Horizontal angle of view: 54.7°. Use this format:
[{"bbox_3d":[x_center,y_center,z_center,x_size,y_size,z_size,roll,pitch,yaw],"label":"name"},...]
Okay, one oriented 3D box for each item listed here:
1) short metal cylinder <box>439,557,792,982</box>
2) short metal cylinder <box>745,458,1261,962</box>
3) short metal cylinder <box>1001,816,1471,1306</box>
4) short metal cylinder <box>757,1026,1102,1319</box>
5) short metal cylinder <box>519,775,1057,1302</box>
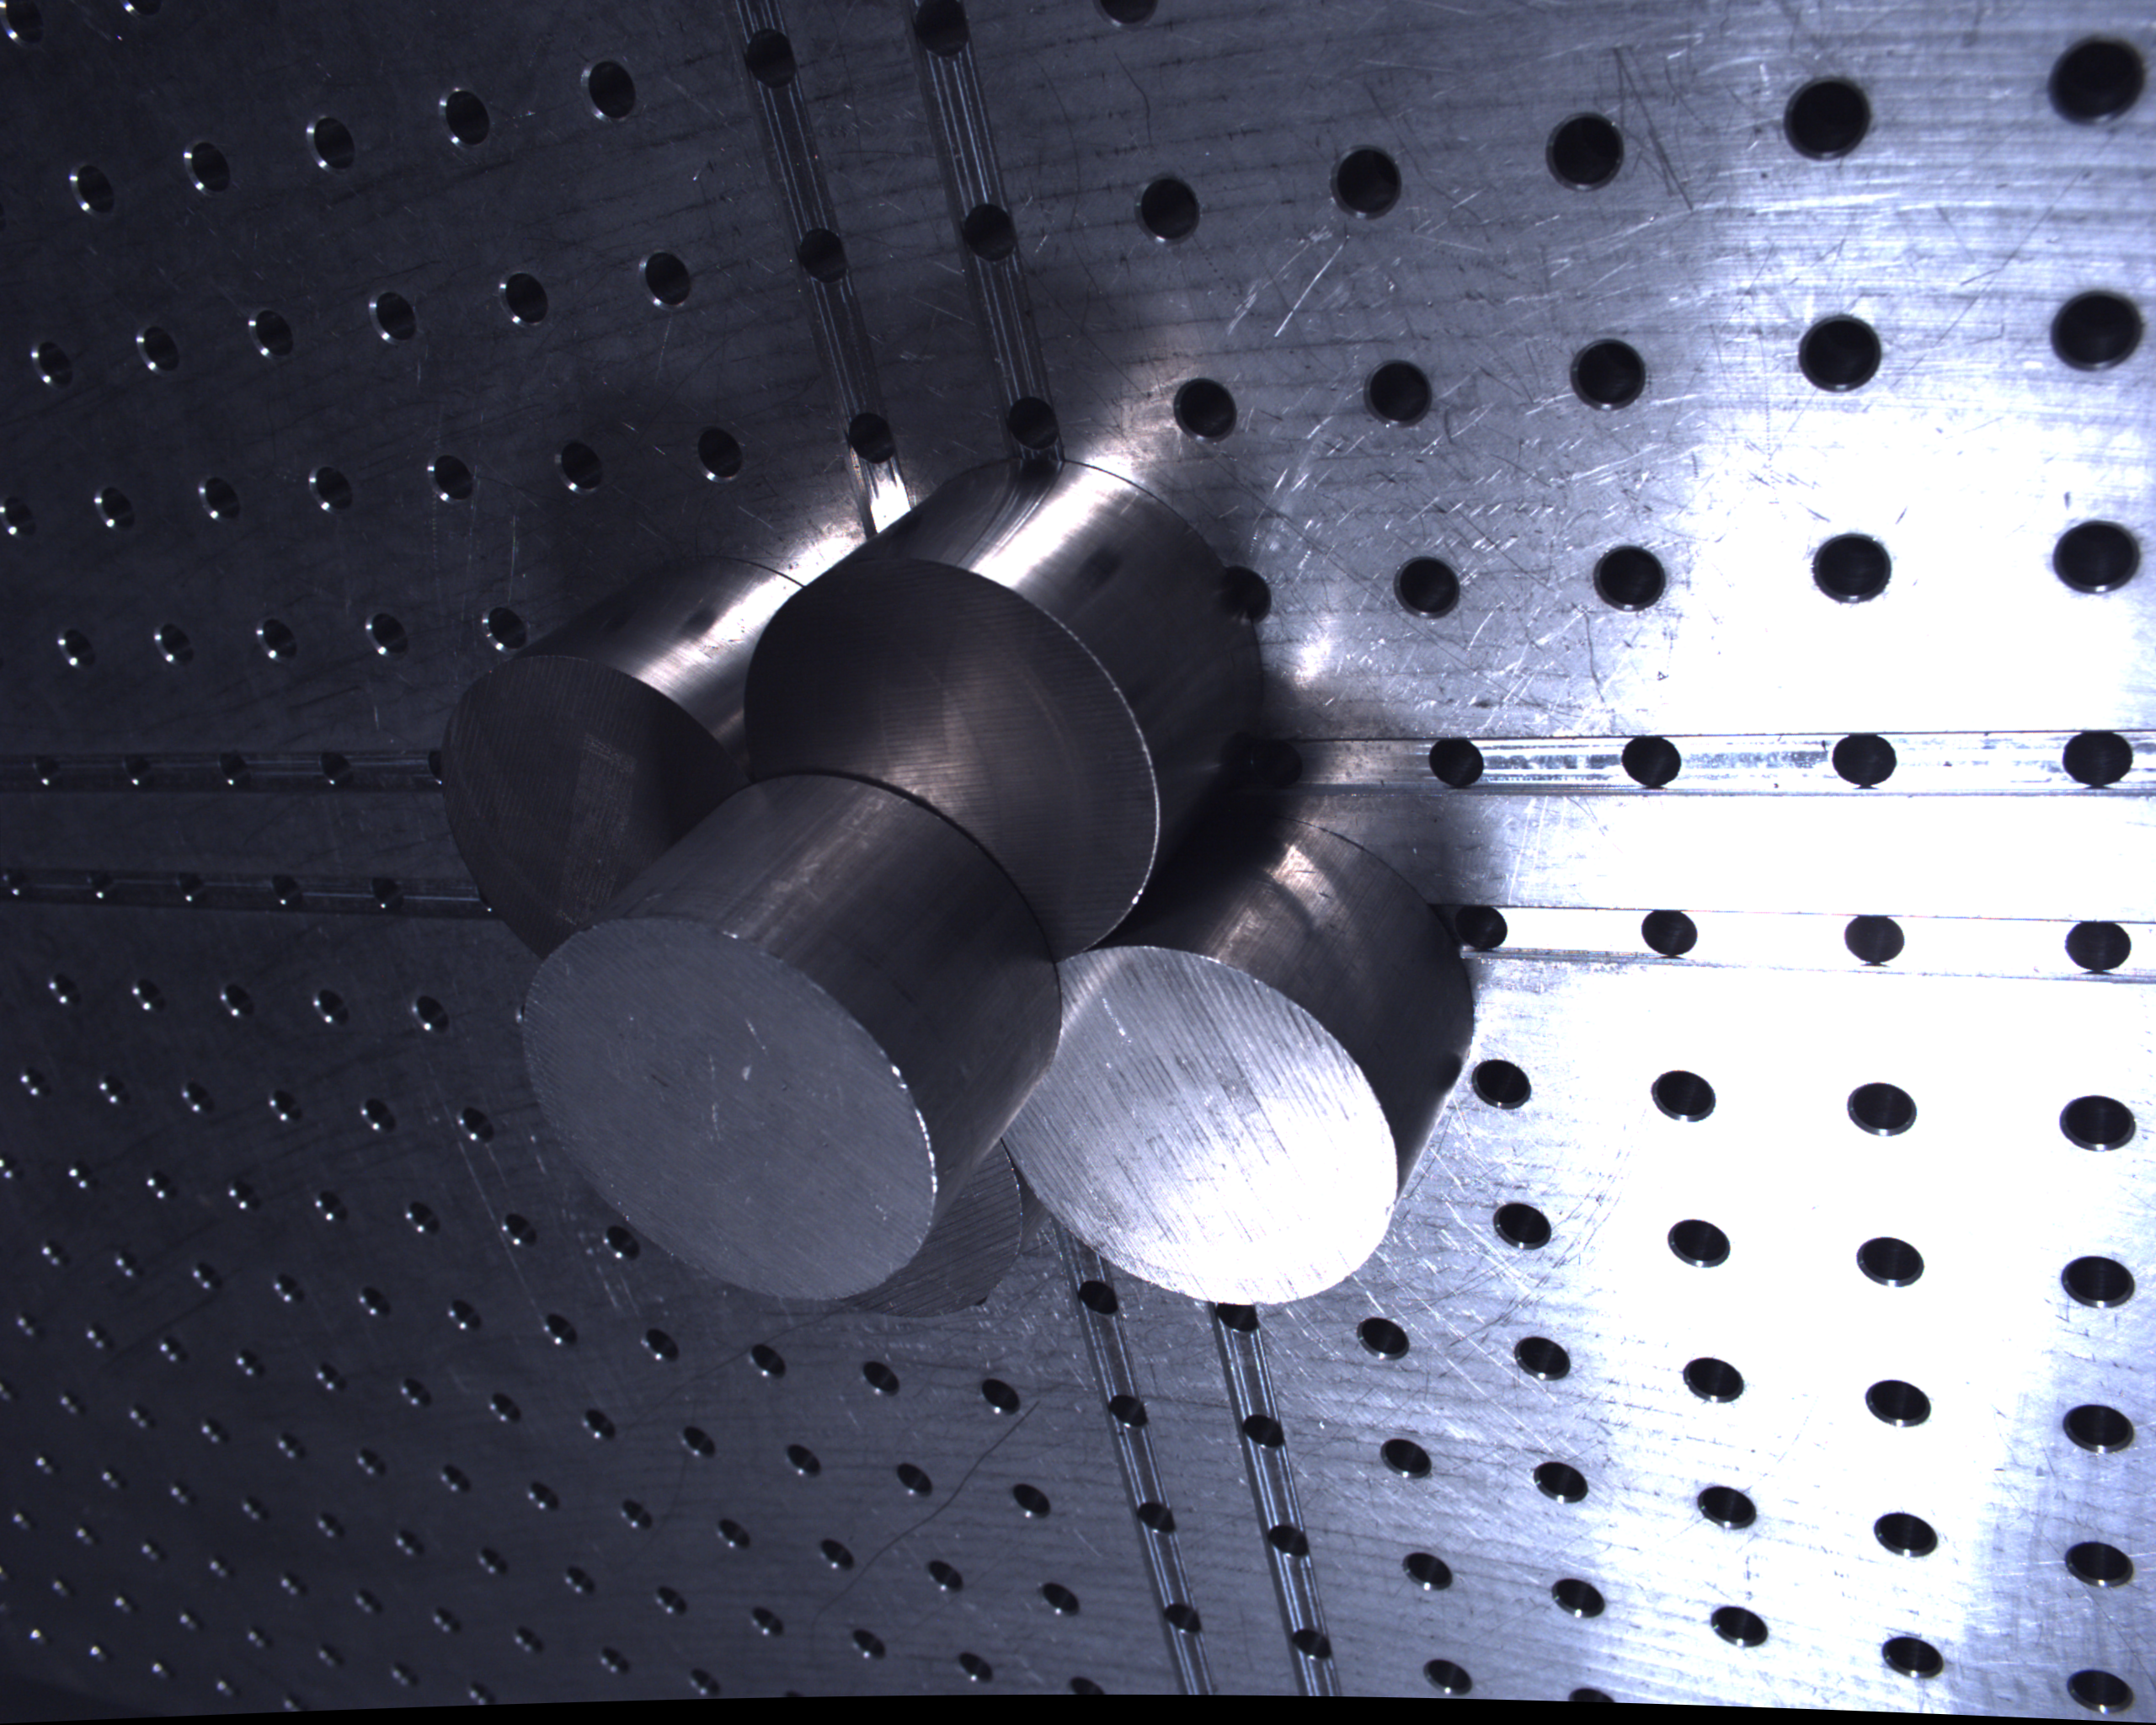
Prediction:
[{"bbox_3d":[-0.081,-0.016,0.425,0.080,0.050,0.079,13,124,20],"label":"short metal cylinder"},{"bbox_3d":[-0.013,-0.028,0.382,0.080,0.050,0.079,13,124,20],"label":"short metal cylinder"},{"bbox_3d":[0.030,0.038,0.401,0.080,0.050,0.079,13,124,20],"label":"short metal cylinder"},{"bbox_3d":[-0.038,0.049,0.443,0.080,0.050,0.079,13,124,20],"label":"short metal cylinder"},{"bbox_3d":[-0.051,0.031,0.372,0.080,0.050,0.079,13,125,19],"label":"short metal cylinder"}]
